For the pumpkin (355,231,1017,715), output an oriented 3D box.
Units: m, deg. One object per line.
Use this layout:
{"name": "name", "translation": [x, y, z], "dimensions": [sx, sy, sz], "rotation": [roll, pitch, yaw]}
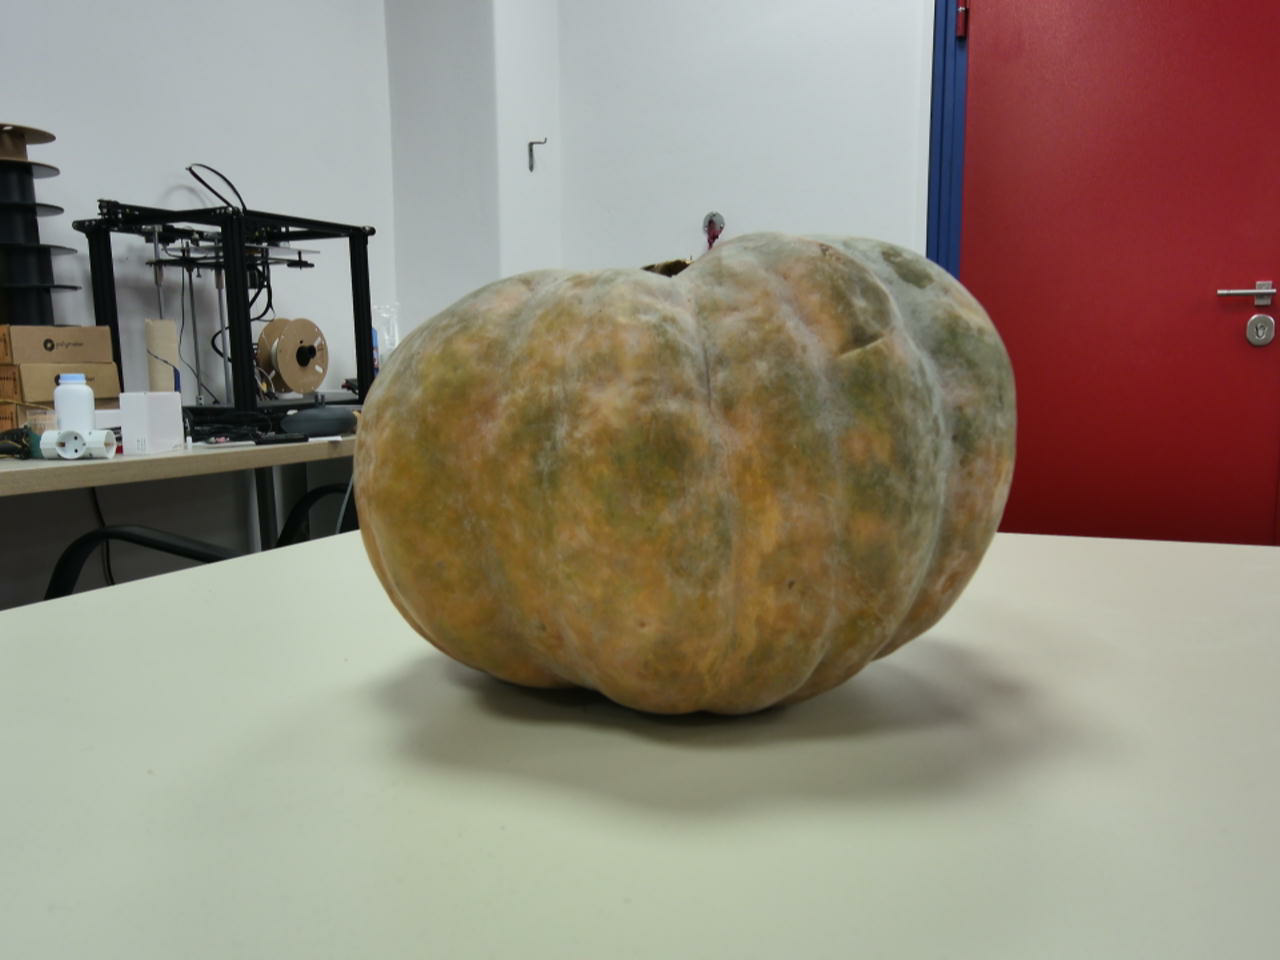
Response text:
{"name": "pumpkin", "translation": [0.011, -0.005, 0.397], "dimensions": [0.252, 0.168, 0.252], "rotation": [0, 4, 0]}
